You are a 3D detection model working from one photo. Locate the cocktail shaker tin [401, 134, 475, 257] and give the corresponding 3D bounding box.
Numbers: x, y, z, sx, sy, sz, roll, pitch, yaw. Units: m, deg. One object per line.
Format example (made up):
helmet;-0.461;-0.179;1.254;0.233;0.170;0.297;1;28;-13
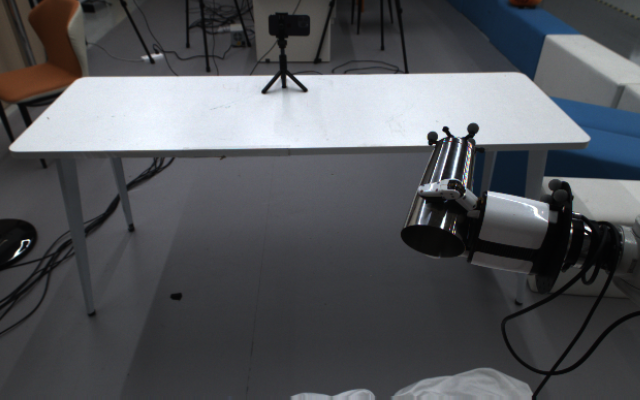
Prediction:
cocktail shaker tin;0.187;-0.010;0.727;0.093;0.093;0.170;13;61;15
